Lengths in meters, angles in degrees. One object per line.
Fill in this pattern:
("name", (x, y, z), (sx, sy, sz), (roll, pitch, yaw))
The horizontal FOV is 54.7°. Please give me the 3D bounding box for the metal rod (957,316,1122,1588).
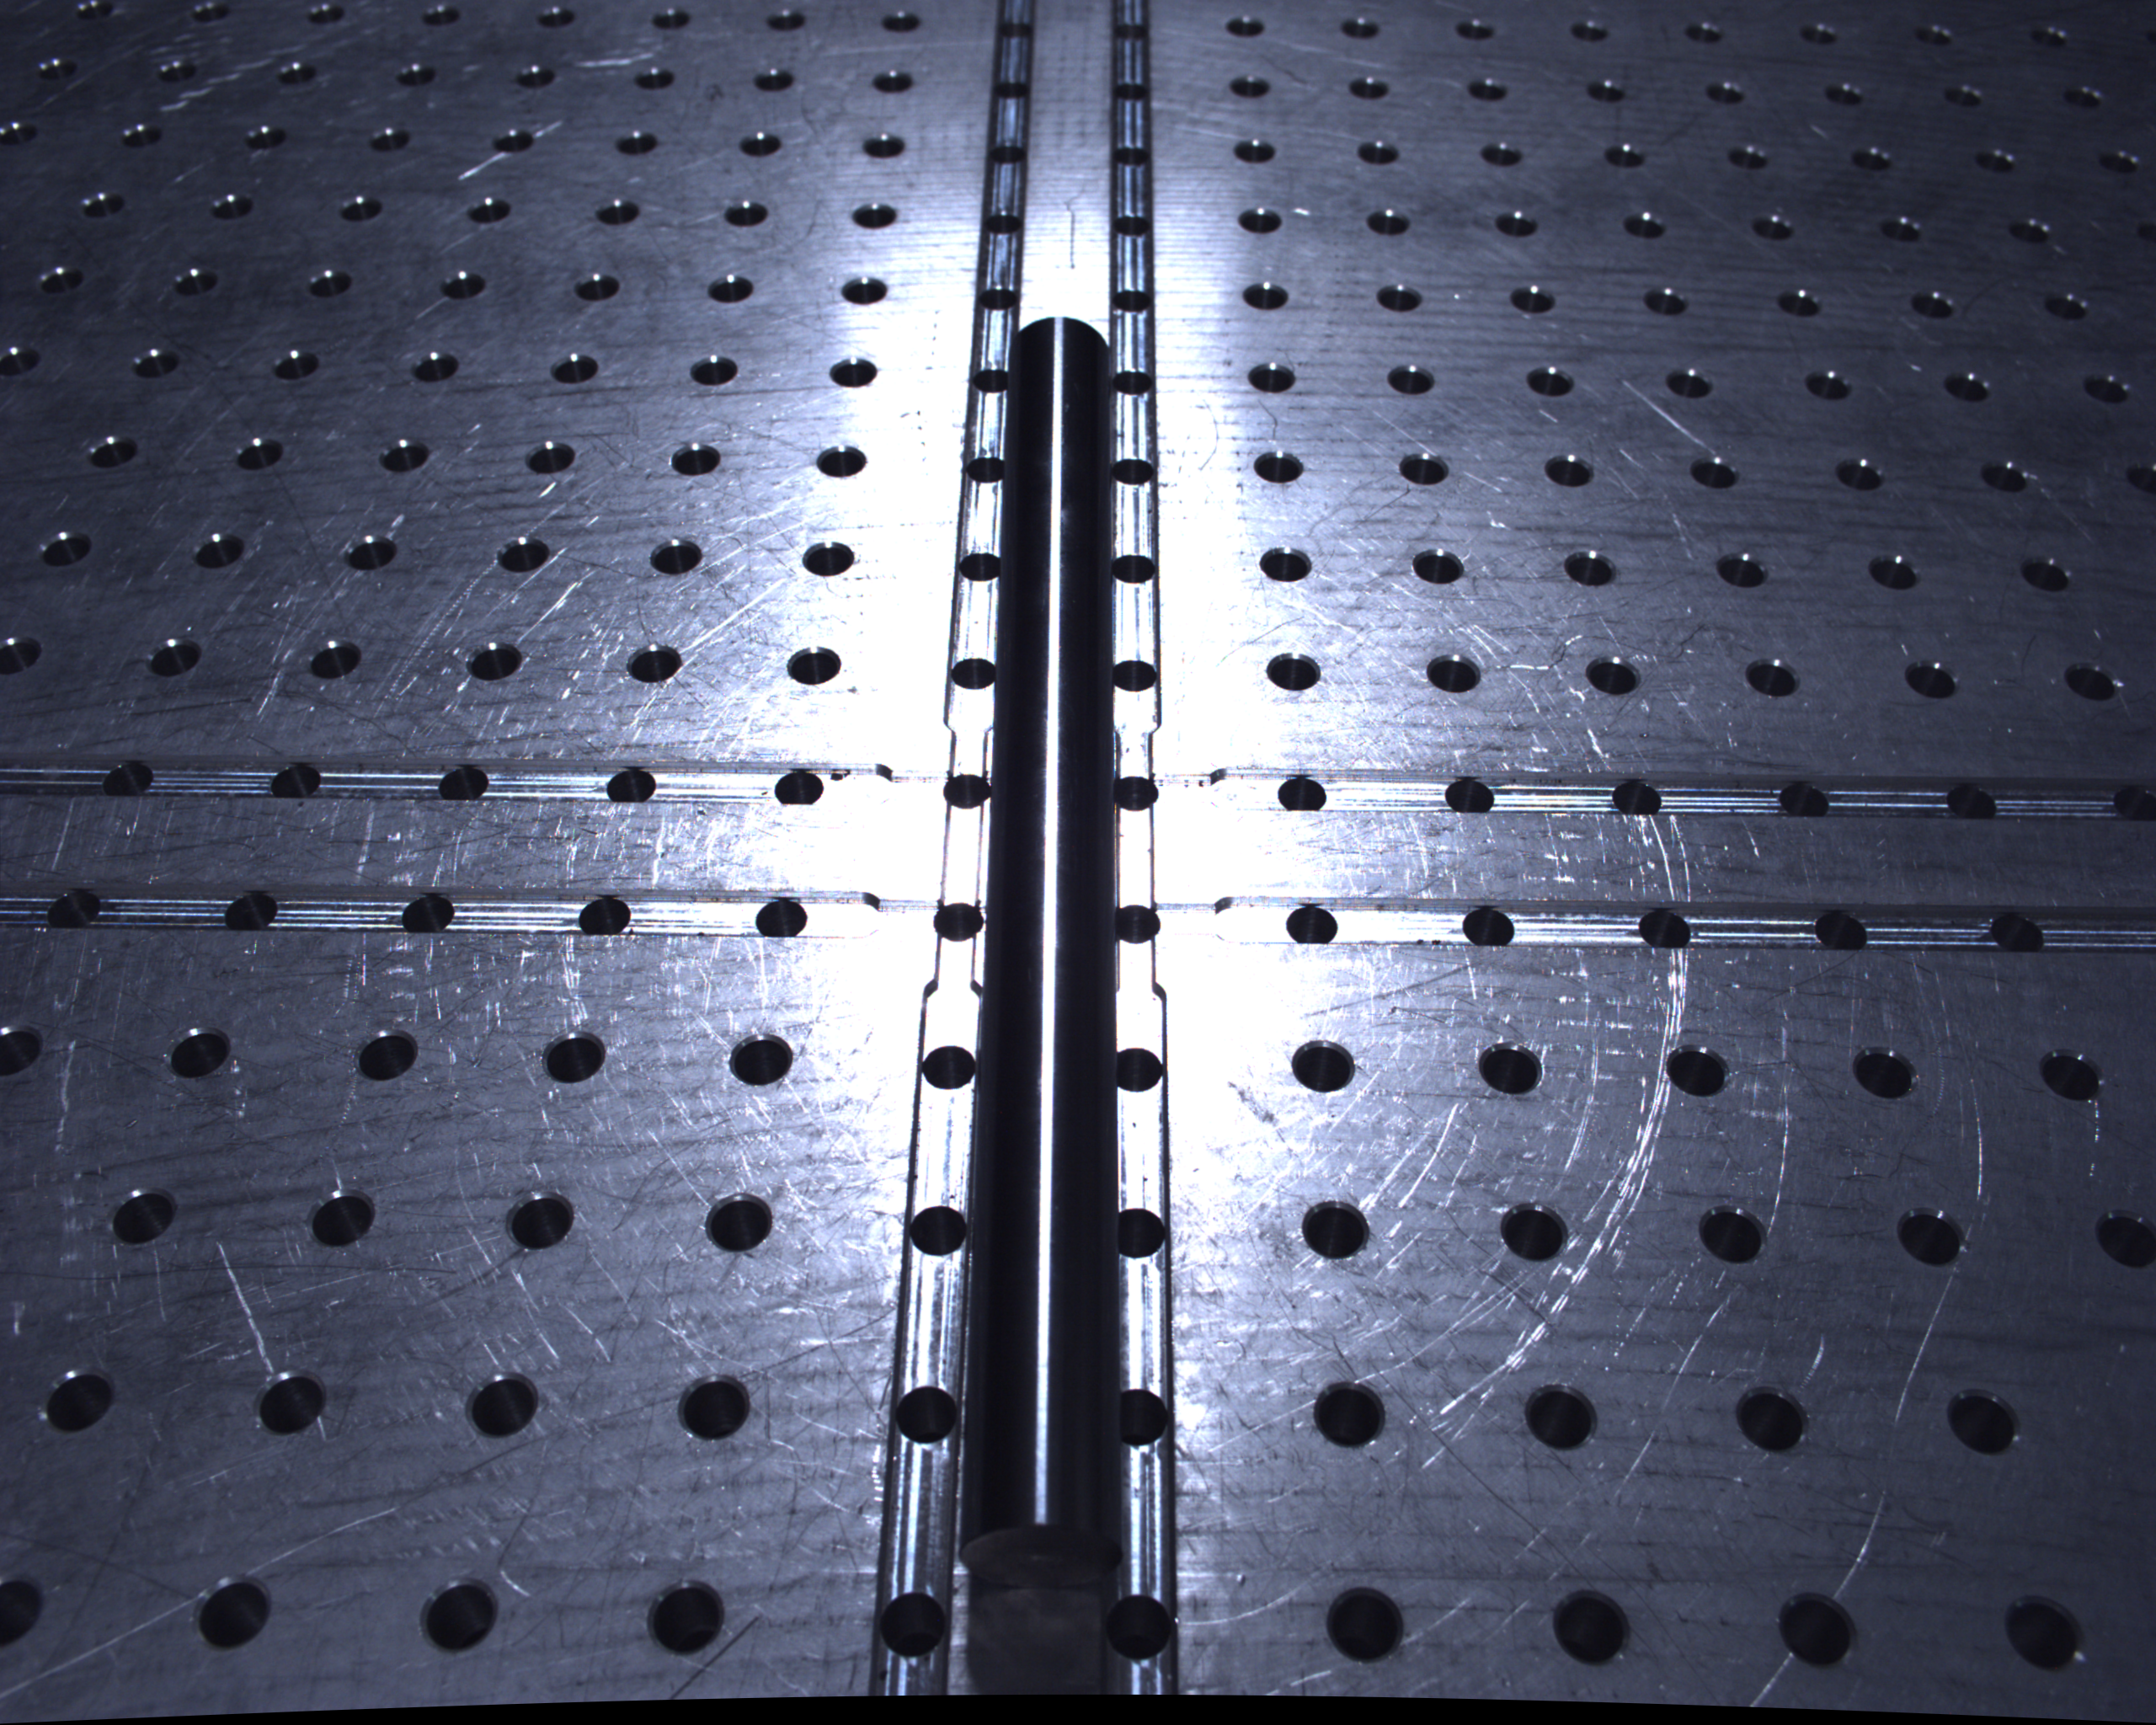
("metal rod", (-0.005, -0.009, 0.415), (0.025, 0.025, 0.300), (0, 50, 0))
